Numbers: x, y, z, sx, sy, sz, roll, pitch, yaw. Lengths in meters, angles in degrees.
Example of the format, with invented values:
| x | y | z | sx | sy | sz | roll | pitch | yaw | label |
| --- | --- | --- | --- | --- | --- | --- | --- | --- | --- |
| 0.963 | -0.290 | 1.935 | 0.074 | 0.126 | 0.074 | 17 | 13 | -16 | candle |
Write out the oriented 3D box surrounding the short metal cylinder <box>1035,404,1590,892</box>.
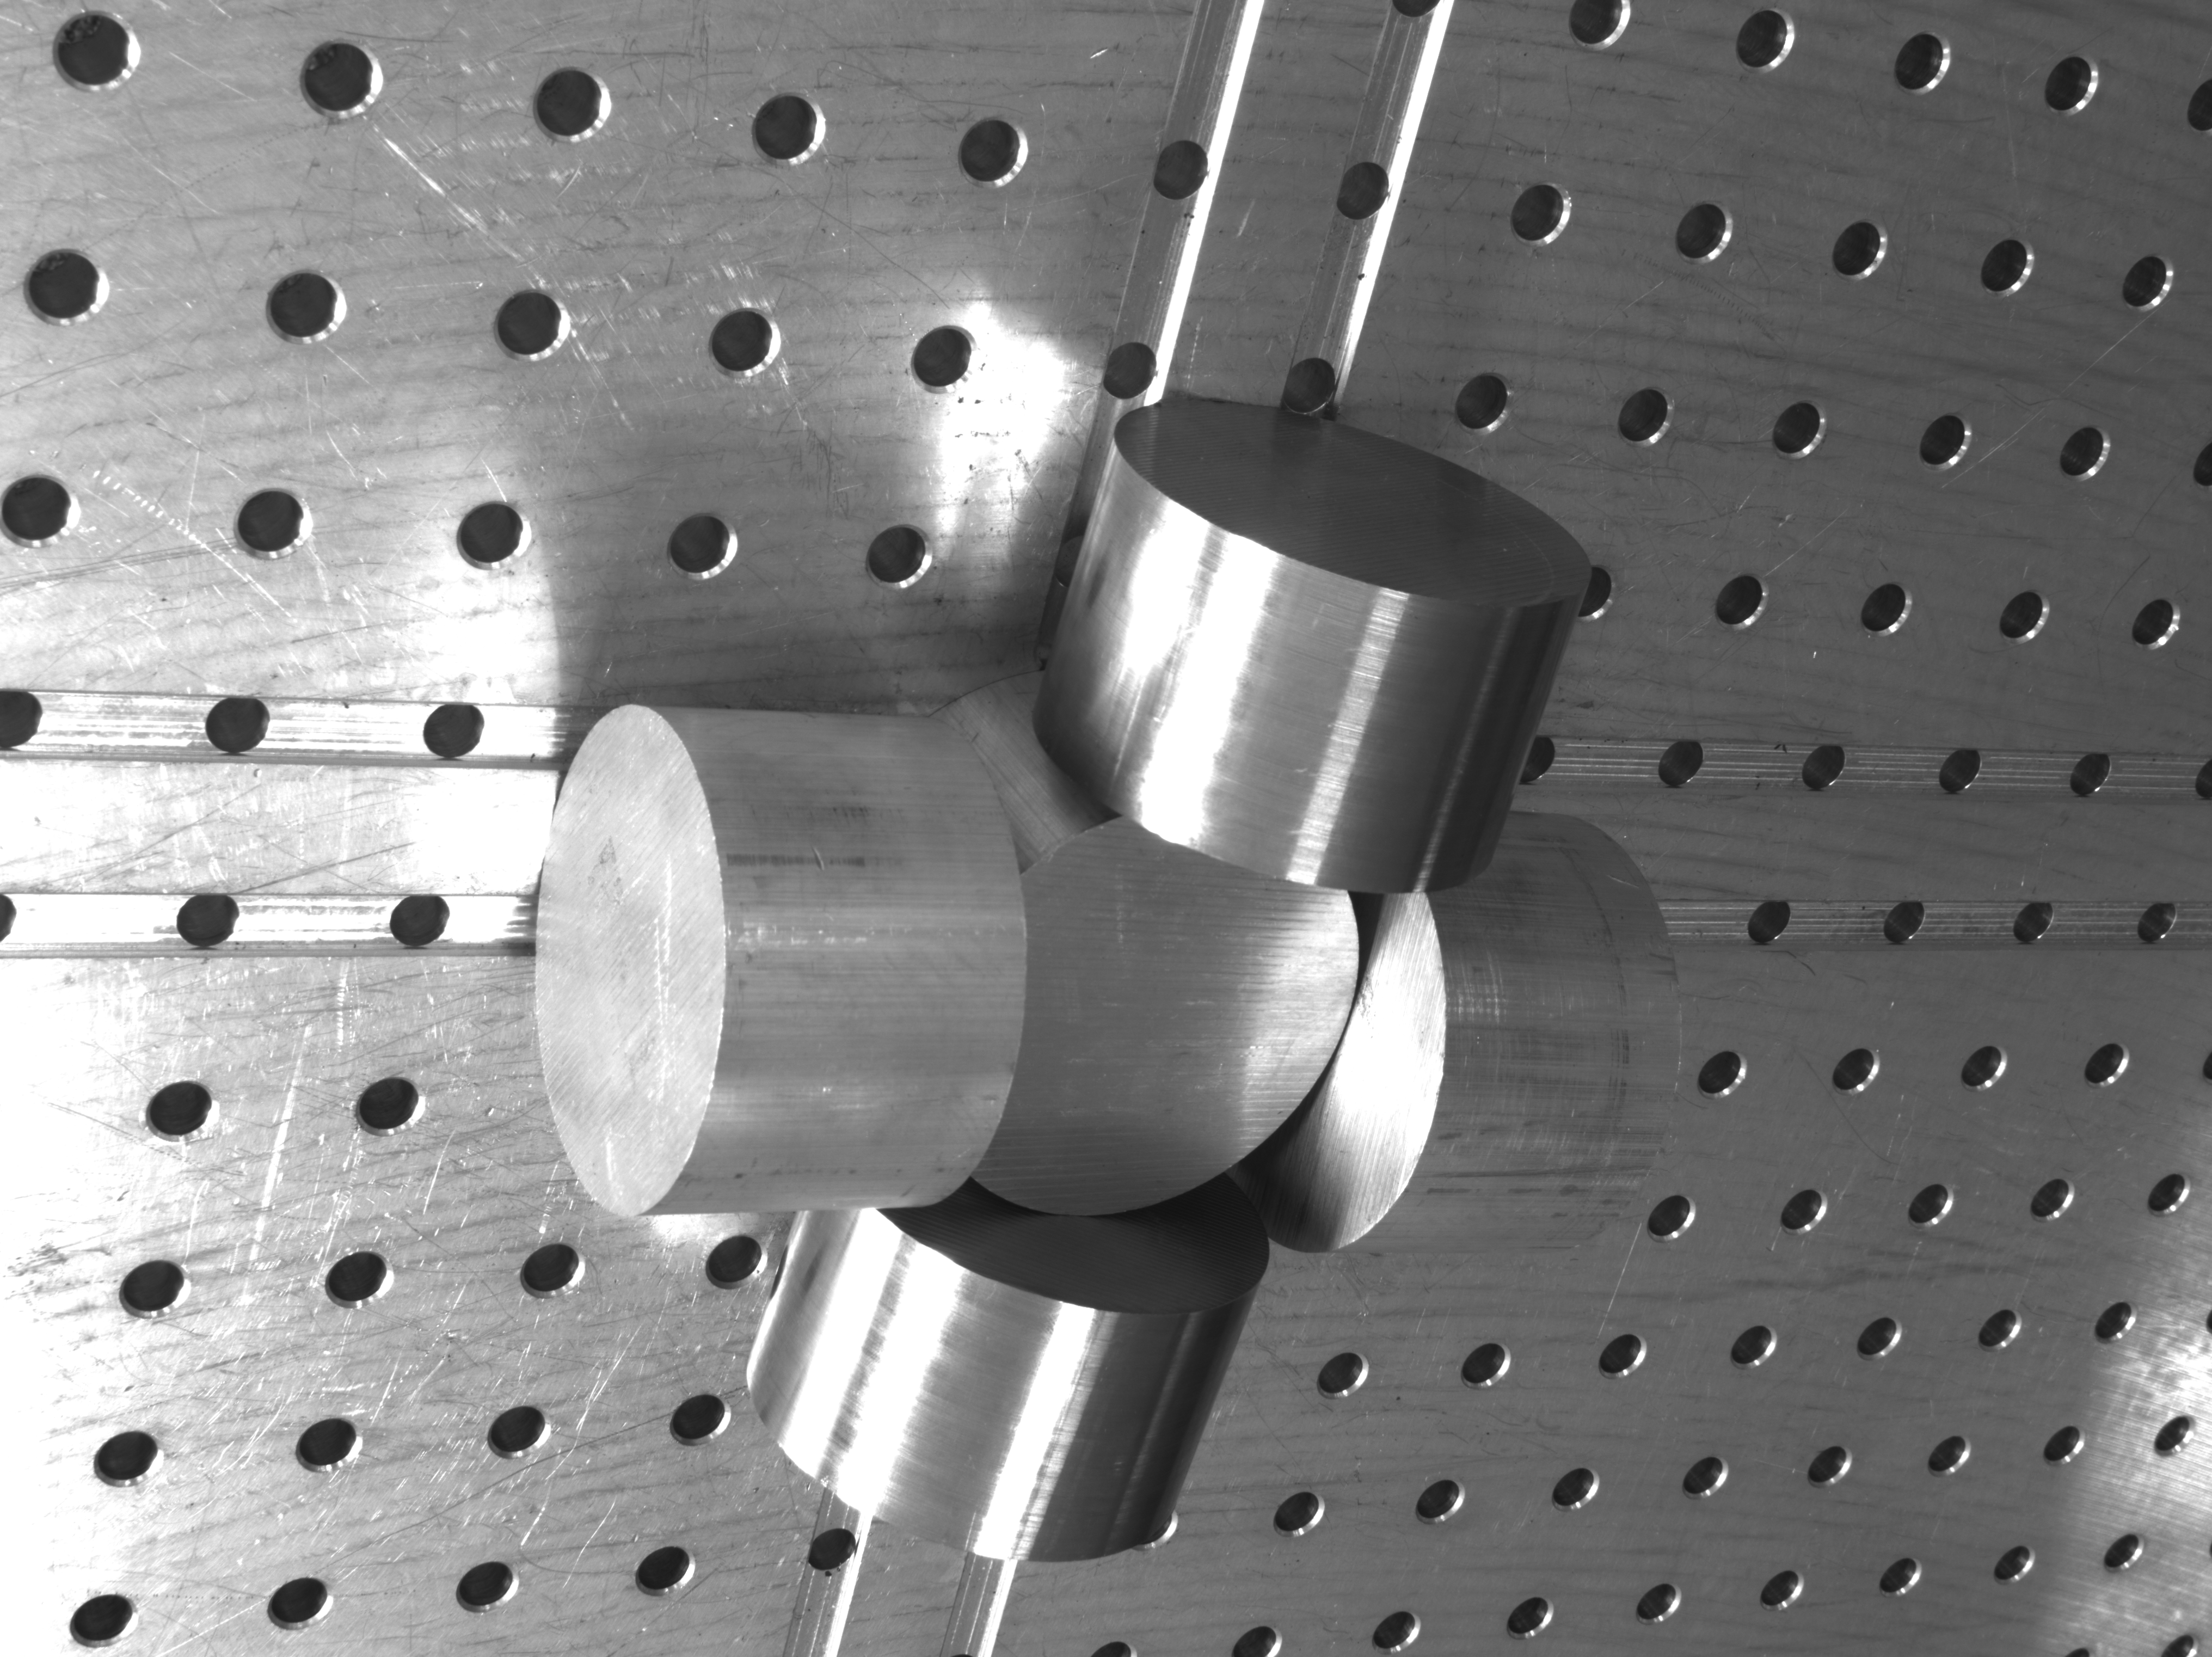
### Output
| x | y | z | sx | sy | sz | roll | pitch | yaw | label |
| --- | --- | --- | --- | --- | --- | --- | --- | --- | --- |
| 0.033 | -0.031 | 0.604 | 0.080 | 0.080 | 0.050 | 3 | 116 | -29 | short metal cylinder |

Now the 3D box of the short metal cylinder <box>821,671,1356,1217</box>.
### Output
| x | y | z | sx | sy | sz | roll | pitch | yaw | label |
| --- | --- | --- | --- | --- | --- | --- | --- | --- | --- |
| -0.004 | 0.019 | 0.635 | 0.080 | 0.050 | 0.080 | -14 | 124 | -22 | short metal cylinder |

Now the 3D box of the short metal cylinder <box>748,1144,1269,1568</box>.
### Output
| x | y | z | sx | sy | sz | roll | pitch | yaw | label |
| --- | --- | --- | --- | --- | --- | --- | --- | --- | --- |
| -0.017 | 0.084 | 0.646 | 0.080 | 0.080 | 0.050 | 6 | 115 | -31 | short metal cylinder |

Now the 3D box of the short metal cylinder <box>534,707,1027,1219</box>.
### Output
| x | y | z | sx | sy | sz | roll | pitch | yaw | label |
| --- | --- | --- | --- | --- | --- | --- | --- | --- | --- |
| -0.054 | 0.021 | 0.589 | 0.050 | 0.080 | 0.080 | 1 | 118 | -30 | short metal cylinder |

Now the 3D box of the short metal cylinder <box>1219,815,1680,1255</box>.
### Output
| x | y | z | sx | sy | sz | roll | pitch | yaw | label |
| --- | --- | --- | --- | --- | --- | --- | --- | --- | --- |
| 0.057 | 0.036 | 0.658 | 0.050 | 0.080 | 0.080 | 4 | 116 | -30 | short metal cylinder |
